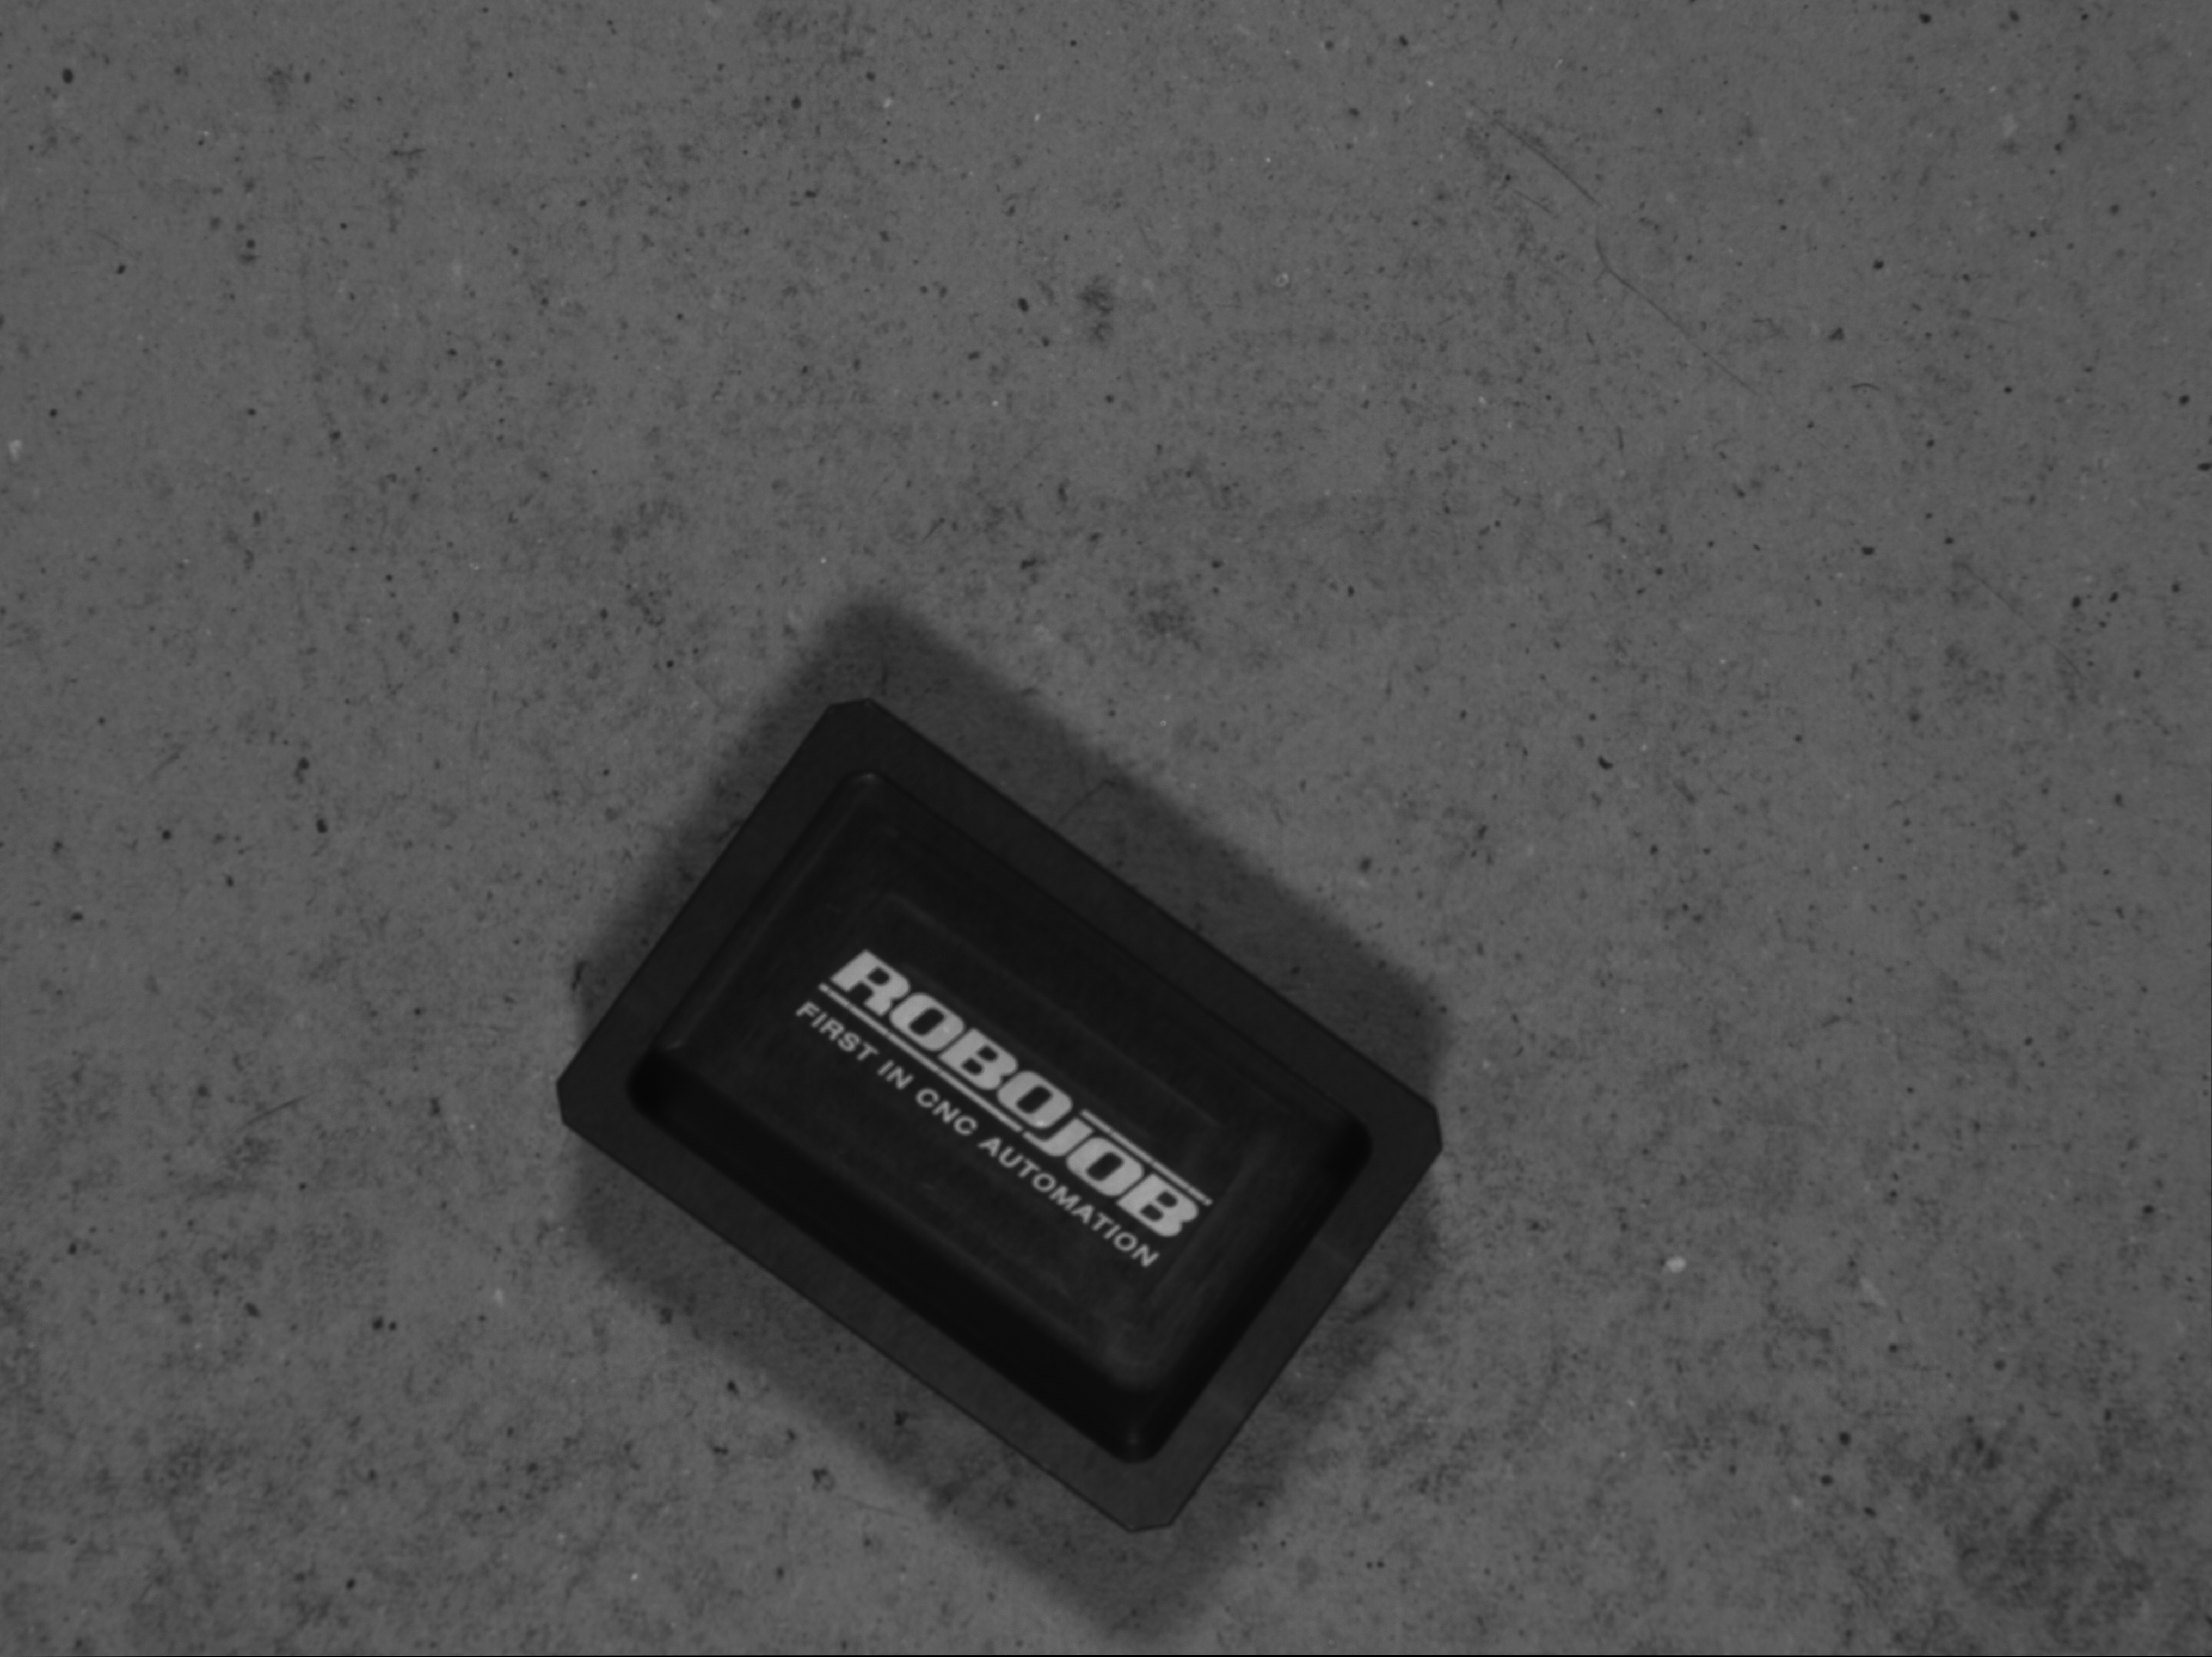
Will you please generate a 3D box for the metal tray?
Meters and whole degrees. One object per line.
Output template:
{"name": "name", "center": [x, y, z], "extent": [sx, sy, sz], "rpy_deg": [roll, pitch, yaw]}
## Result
{"name": "metal tray", "center": [-0.019, 0.049, 0.642], "extent": [0.130, 0.030, 0.090], "rpy_deg": [36, 90, 0]}
